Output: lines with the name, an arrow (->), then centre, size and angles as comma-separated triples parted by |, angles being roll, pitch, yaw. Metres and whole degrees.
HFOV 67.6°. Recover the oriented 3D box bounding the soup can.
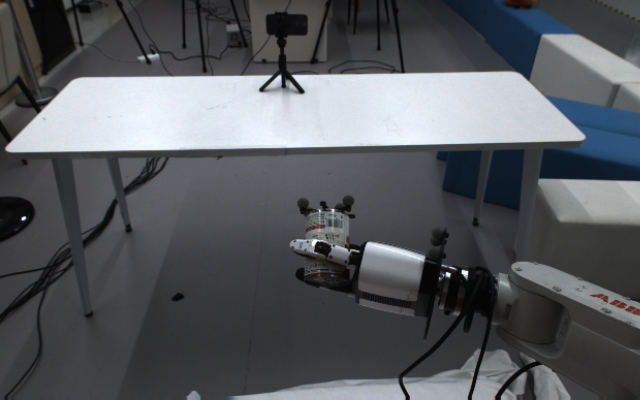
soup can -> 0.012, 0.072, 0.711 | 0.067, 0.067, 0.101 | 1, 69, -1
